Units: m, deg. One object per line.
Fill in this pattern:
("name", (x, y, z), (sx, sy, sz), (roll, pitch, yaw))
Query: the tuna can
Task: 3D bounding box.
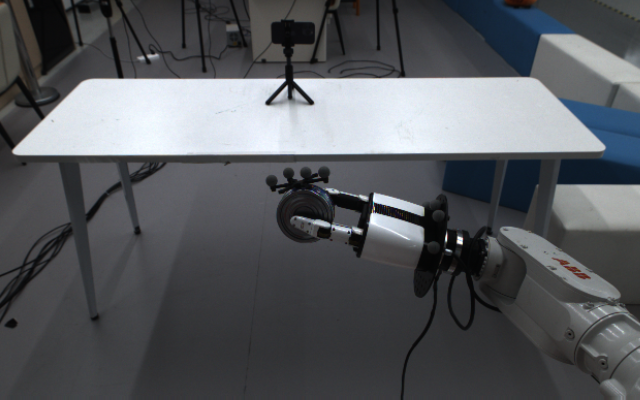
("tuna can", (-0.018, 0.027, 0.721), (0.085, 0.085, 0.034), (6, 18, 5))
